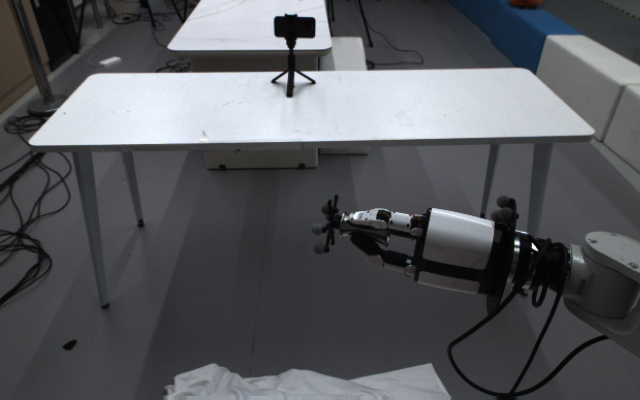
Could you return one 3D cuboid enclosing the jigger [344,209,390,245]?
[{"bbox_3d":[0.072,0.035,0.689,0.071,0.043,0.043,8,35,14],"label":"jigger"}]
